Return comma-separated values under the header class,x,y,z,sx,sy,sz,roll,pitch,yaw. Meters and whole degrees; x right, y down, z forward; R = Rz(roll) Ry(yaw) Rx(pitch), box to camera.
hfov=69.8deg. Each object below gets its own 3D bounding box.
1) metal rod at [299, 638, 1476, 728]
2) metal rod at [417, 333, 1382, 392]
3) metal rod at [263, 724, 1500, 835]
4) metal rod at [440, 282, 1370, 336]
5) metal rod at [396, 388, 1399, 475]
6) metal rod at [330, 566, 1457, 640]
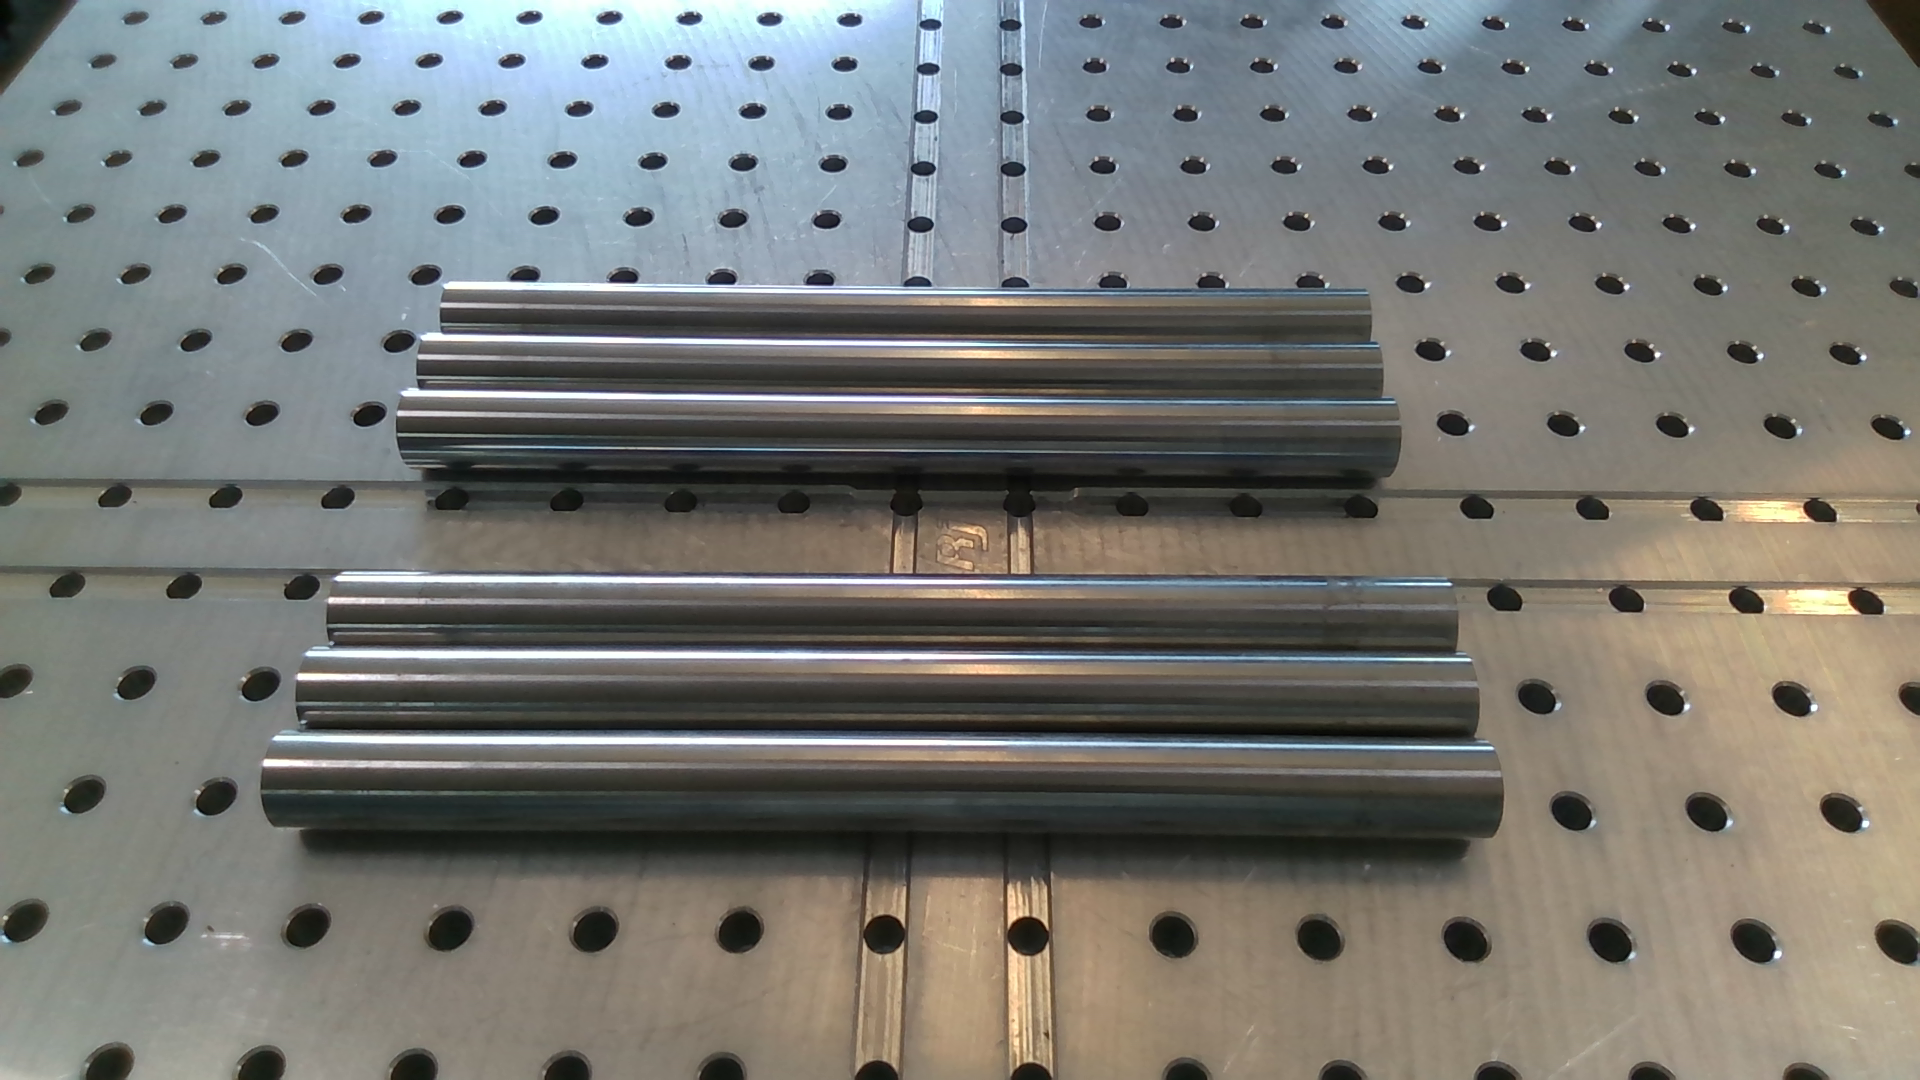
class,x,y,z,sx,sy,sz,roll,pitch,yaw
metal rod,-0.019,0.040,0.363,0.300,0.025,0.025,0,50,0
metal rod,-0.019,-0.053,0.440,0.300,0.025,0.025,0,50,0
metal rod,-0.019,0.060,0.346,0.300,0.025,0.025,0,50,0
metal rod,-0.018,-0.072,0.456,0.300,0.025,0.025,0,50,0
metal rod,-0.019,-0.033,0.424,0.300,0.025,0.025,0,50,0
metal rod,-0.018,0.021,0.379,0.300,0.025,0.025,0,50,0
